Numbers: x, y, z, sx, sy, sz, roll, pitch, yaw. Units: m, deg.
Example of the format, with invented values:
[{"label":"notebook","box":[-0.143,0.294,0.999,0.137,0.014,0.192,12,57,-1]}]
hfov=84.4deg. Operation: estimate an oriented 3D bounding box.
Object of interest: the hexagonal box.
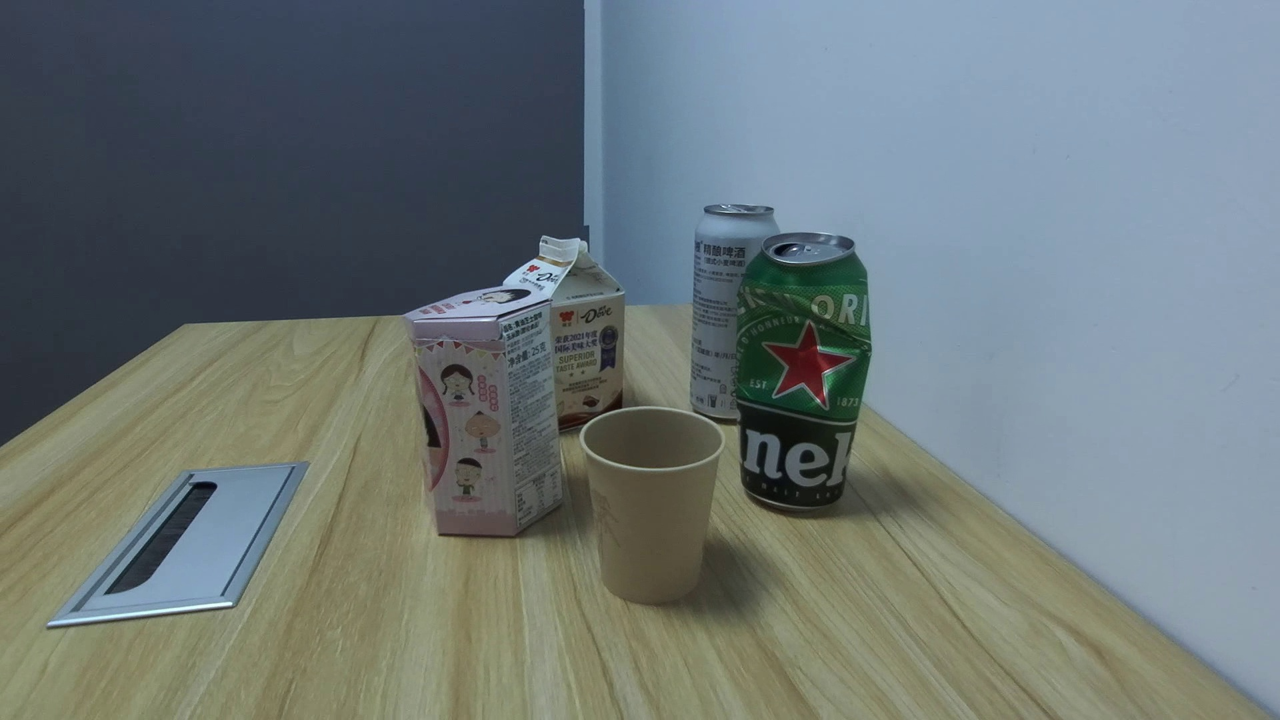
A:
[{"label":"hexagonal box","box":[-0.091,0.028,0.431,0.085,0.135,0.091,-8,21,-23]}]

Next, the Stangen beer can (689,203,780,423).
[{"label":"Stangen beer can","box":[0.076,-0.039,0.578,0.067,0.171,0.067,0,22,0]}]

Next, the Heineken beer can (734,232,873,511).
[{"label":"Heineken beer can","box":[0.098,0.011,0.435,0.069,0.168,0.068,-6,21,-12]}]

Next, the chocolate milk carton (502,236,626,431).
[{"label":"chocolate milk carton","box":[-0.060,-0.026,0.566,0.074,0.148,0.075,-13,24,-32]}]

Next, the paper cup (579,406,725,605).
[{"label":"paper cup","box":[0.006,0.077,0.369,0.075,0.082,0.075,1,19,0]}]
